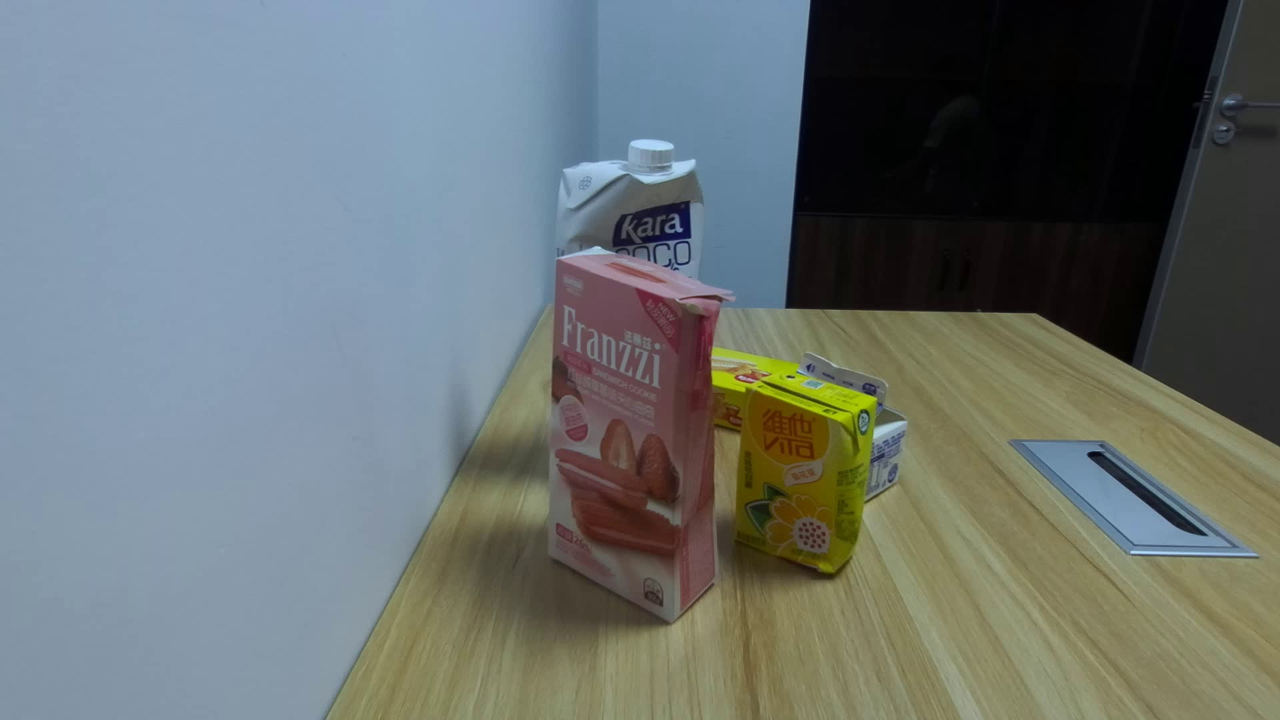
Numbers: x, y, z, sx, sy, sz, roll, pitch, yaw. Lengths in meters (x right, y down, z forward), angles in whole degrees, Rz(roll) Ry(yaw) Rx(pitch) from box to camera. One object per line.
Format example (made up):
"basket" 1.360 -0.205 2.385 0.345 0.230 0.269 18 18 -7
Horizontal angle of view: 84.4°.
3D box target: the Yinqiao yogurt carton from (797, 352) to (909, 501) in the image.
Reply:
"Yinqiao yogurt carton" 0.143 0.046 0.512 0.074 0.092 0.075 -15 26 -40

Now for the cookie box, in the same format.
"cookie box" -0.001 0.041 0.385 0.118 0.184 0.056 20 28 40

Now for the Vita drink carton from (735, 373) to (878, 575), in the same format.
"Vita drink carton" 0.100 0.068 0.421 0.076 0.109 0.043 21 29 41

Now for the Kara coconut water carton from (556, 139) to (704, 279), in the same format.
"Kara coconut water carton" -0.009 -0.034 0.507 0.115 0.238 0.069 -21 34 -40
